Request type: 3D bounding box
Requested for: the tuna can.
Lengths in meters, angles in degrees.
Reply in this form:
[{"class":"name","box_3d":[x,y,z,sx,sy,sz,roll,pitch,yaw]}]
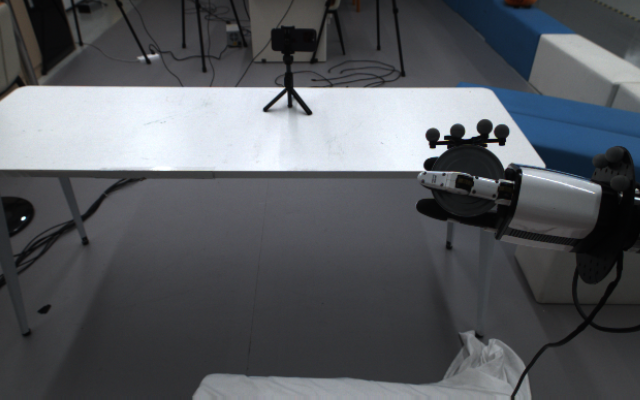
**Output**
[{"class":"tuna can","box_3d":[0.178,-0.024,0.585,0.085,0.085,0.034,16,1,19]}]
